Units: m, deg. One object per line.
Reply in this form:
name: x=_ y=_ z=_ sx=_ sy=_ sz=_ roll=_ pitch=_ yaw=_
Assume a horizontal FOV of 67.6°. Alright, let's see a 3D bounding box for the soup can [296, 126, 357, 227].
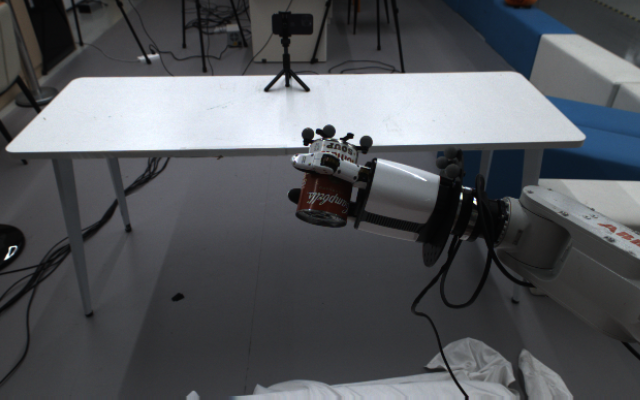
soup can: x=0.011 y=-0.022 z=0.633 sx=0.067 sy=0.067 sz=0.101 roll=8 pitch=72 yaw=9
